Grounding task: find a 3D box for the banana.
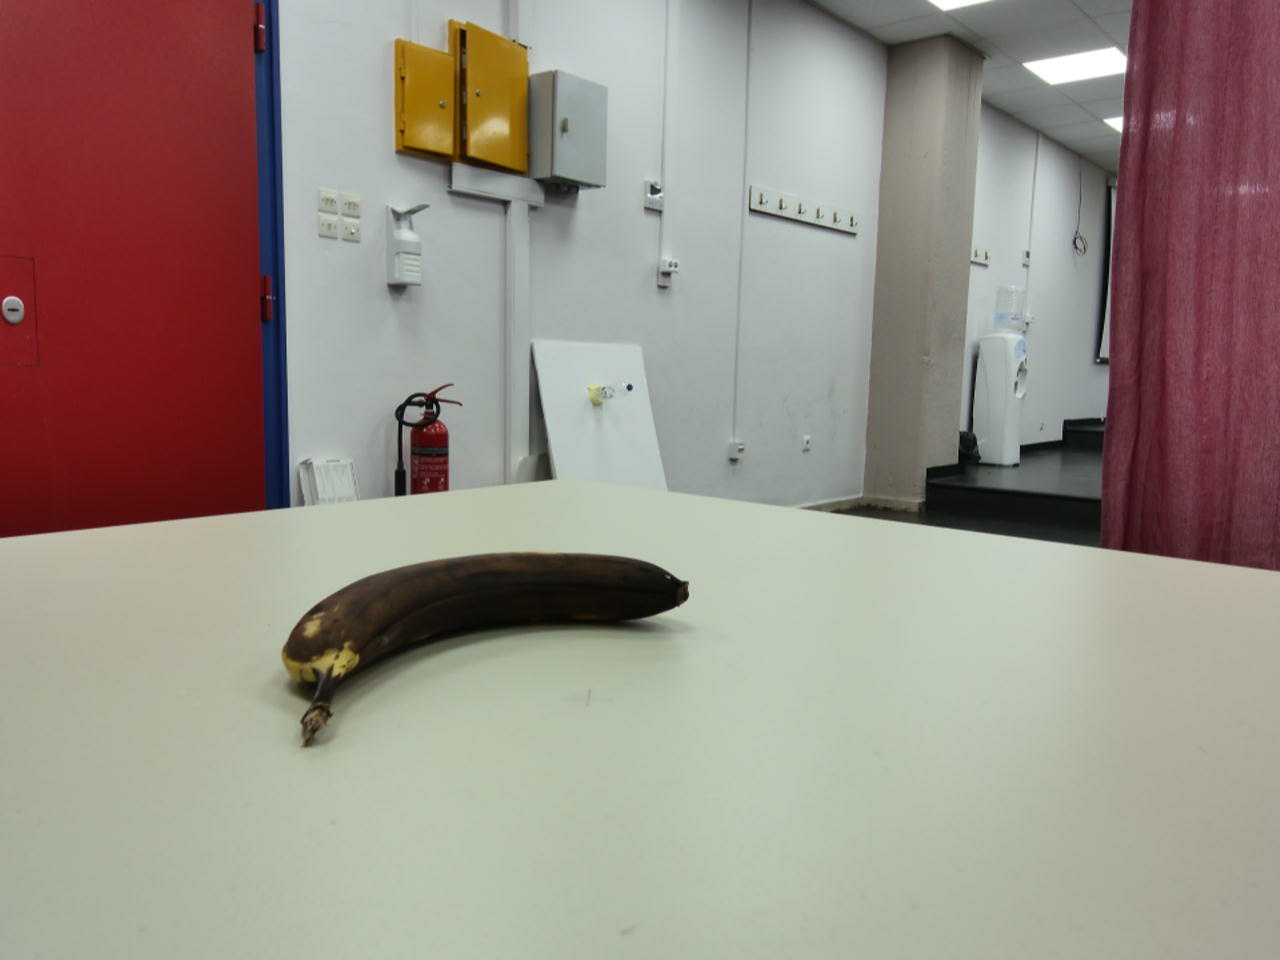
[{"bbox_3d":[-0.070,0.051,0.398,0.091,0.033,0.188,3,6,41],"label":"banana"}]
